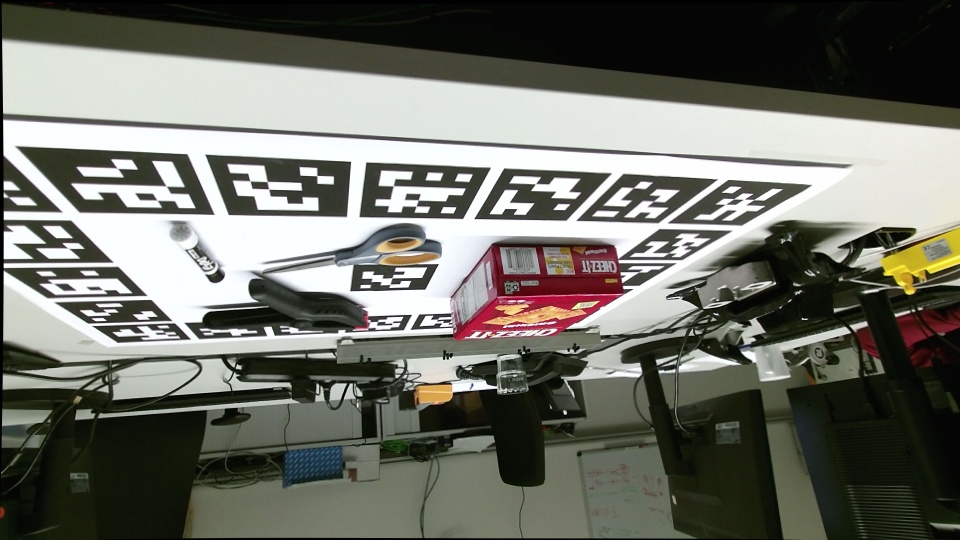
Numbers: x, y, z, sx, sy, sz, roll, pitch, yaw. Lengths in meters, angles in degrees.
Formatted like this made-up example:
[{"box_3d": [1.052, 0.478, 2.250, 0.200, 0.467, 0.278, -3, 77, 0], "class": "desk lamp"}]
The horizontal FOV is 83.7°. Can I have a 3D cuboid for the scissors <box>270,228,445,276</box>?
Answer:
[{"box_3d": [-0.137, -0.011, 0.587, 0.203, 0.016, 0.088, -9, 161, 12], "class": "scissors"}]

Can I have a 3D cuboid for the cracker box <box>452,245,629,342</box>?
[{"box_3d": [0.069, 0.038, 0.717, 0.165, 0.071, 0.214, -1, 159, -18], "class": "cracker box"}]

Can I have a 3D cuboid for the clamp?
[{"box_3d": [-0.235, 0.054, 0.743, 0.165, 0.036, 0.203, -23, 154, 40], "class": "clamp"}]

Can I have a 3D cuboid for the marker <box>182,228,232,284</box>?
[{"box_3d": [-0.273, -0.009, 0.542, 0.020, 0.019, 0.121, -3, 160, -13], "class": "marker"}]
